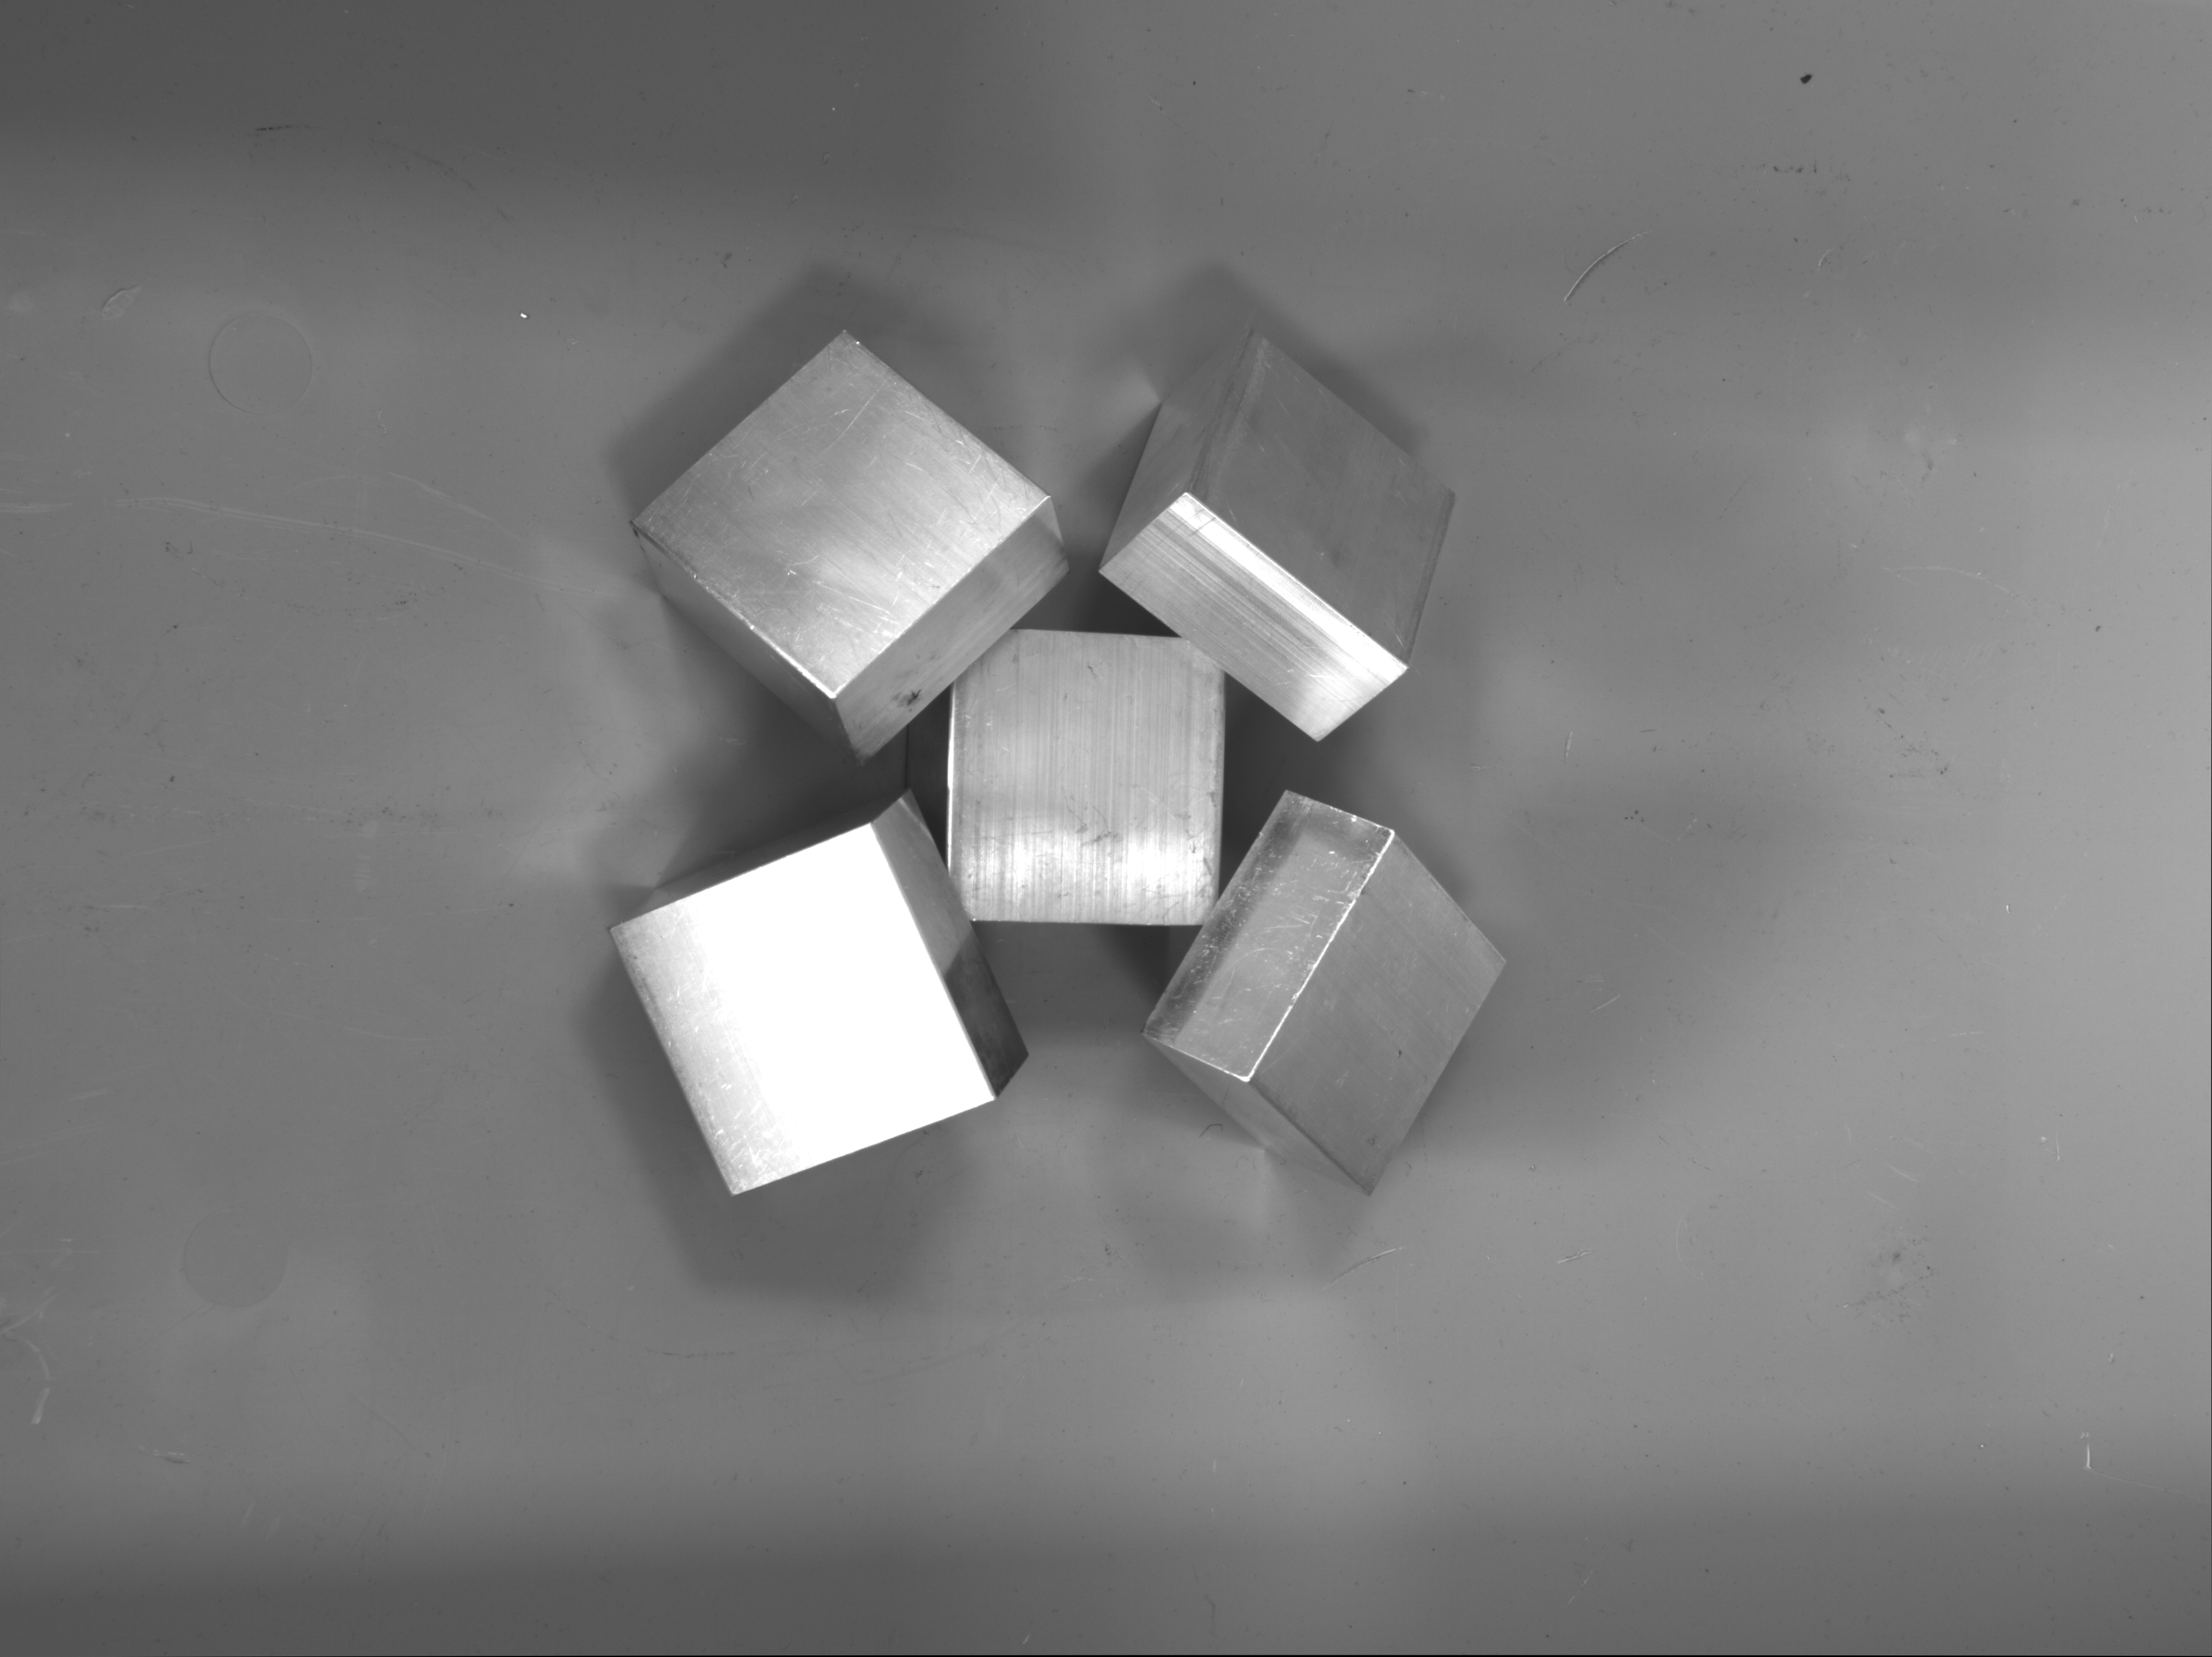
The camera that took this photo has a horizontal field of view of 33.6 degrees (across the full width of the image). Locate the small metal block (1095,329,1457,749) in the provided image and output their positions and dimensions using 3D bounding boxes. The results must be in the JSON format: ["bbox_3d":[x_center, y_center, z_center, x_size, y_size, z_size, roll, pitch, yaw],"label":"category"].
[{"bbox_3d":[0.030,-0.051,0.639,0.050,0.025,0.050,37,41,-16],"label":"small metal block"}]

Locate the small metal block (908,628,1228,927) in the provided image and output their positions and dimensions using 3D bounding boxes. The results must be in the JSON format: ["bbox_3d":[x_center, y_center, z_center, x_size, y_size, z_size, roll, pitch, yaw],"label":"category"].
[{"bbox_3d":[-0.007,-0.009,0.638,0.050,0.025,0.050,2,89,-20],"label":"small metal block"}]

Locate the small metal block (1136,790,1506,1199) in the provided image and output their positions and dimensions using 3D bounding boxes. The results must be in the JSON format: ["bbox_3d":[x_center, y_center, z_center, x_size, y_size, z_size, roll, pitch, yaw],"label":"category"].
[{"bbox_3d":[0.039,0.029,0.643,0.050,0.025,0.050,-58,141,-11],"label":"small metal block"}]

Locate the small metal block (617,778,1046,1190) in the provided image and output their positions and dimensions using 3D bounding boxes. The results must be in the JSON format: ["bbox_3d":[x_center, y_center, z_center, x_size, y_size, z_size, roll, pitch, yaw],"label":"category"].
[{"bbox_3d":[-0.045,0.026,0.612,0.050,0.025,0.050,-21,99,19],"label":"small metal block"}]

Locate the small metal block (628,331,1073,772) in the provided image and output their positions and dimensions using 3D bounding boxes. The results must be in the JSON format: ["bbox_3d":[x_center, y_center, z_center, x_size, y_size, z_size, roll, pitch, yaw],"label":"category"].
[{"bbox_3d":[-0.042,-0.047,0.613,0.050,0.025,0.050,40,75,23],"label":"small metal block"}]
